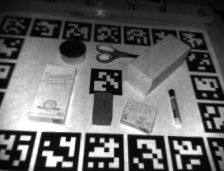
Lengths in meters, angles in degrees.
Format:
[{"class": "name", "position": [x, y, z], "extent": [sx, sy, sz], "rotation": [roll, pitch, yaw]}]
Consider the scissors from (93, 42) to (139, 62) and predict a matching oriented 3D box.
[{"class": "scissors", "position": [0.030, -0.108, 0.762], "extent": [0.202, 0.016, 0.087], "rotation": [9, 56, 2]}]

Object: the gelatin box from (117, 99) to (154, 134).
[{"class": "gelatin box", "position": [0.068, 0.089, 0.629], "extent": [0.089, 0.030, 0.073], "rotation": [20, 58, 7]}]

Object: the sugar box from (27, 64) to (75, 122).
[{"class": "sugar box", "position": [-0.173, 0.018, 0.638], "extent": [0.093, 0.045, 0.176], "rotation": [9, 56, -2]}]

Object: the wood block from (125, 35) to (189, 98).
[{"class": "wood block", "position": [0.148, -0.067, 0.708], "extent": [0.207, 0.091, 0.089], "rotation": [-37, 67, -27]}]

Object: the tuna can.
[{"class": "tuna can", "position": [-0.142, -0.120, 0.734], "extent": [0.086, 0.034, 0.085], "rotation": [3, 57, -4]}]

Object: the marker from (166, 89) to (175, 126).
[{"class": "marker", "position": [0.178, 0.065, 0.662], "extent": [0.020, 0.020, 0.120], "rotation": [6, 59, -3]}]

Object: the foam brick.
[{"class": "foam brick", "position": [-0.034, 0.066, 0.613], "extent": [0.053, 0.051, 0.078], "rotation": [6, 57, -2]}]
